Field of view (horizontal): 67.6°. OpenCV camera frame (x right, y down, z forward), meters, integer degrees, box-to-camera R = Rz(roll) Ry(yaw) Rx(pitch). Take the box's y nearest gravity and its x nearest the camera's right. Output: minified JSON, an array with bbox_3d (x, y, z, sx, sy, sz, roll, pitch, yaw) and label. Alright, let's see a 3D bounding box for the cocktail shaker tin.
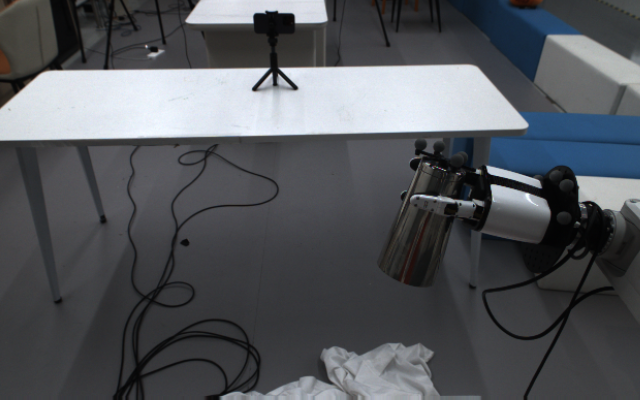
[{"bbox_3d":[0.153,0.027,0.709,0.093,0.170,0.093,14,18,-5],"label":"cocktail shaker tin"}]
